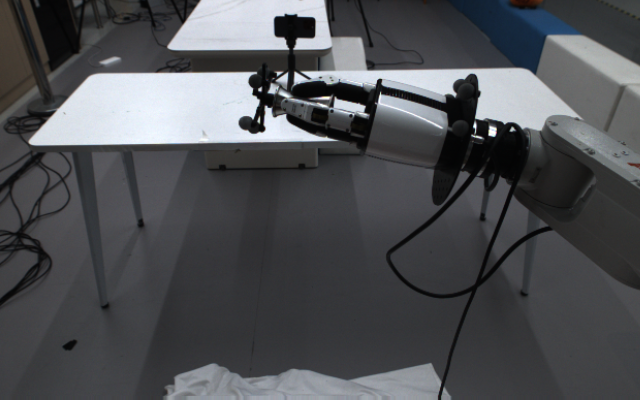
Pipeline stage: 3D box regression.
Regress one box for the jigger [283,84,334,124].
[{"bbox_3d":[-0.014,-0.116,0.589,0.071,0.043,0.043,12,36,5],"label":"jigger"}]
